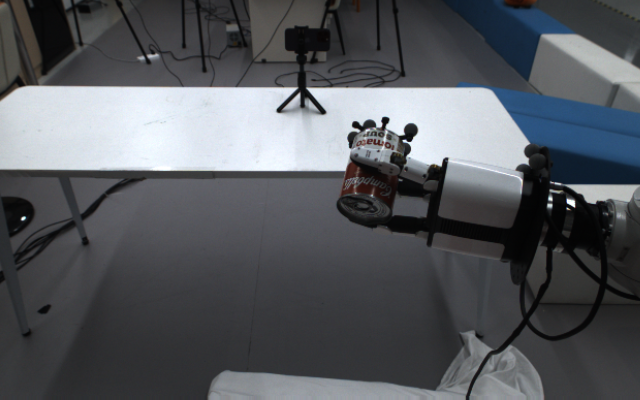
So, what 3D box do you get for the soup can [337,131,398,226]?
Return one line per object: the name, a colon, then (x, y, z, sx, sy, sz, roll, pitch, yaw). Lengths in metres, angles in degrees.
soup can: (0.065, -0.032, 0.597, 0.067, 0.067, 0.101, 9, 60, 10)
